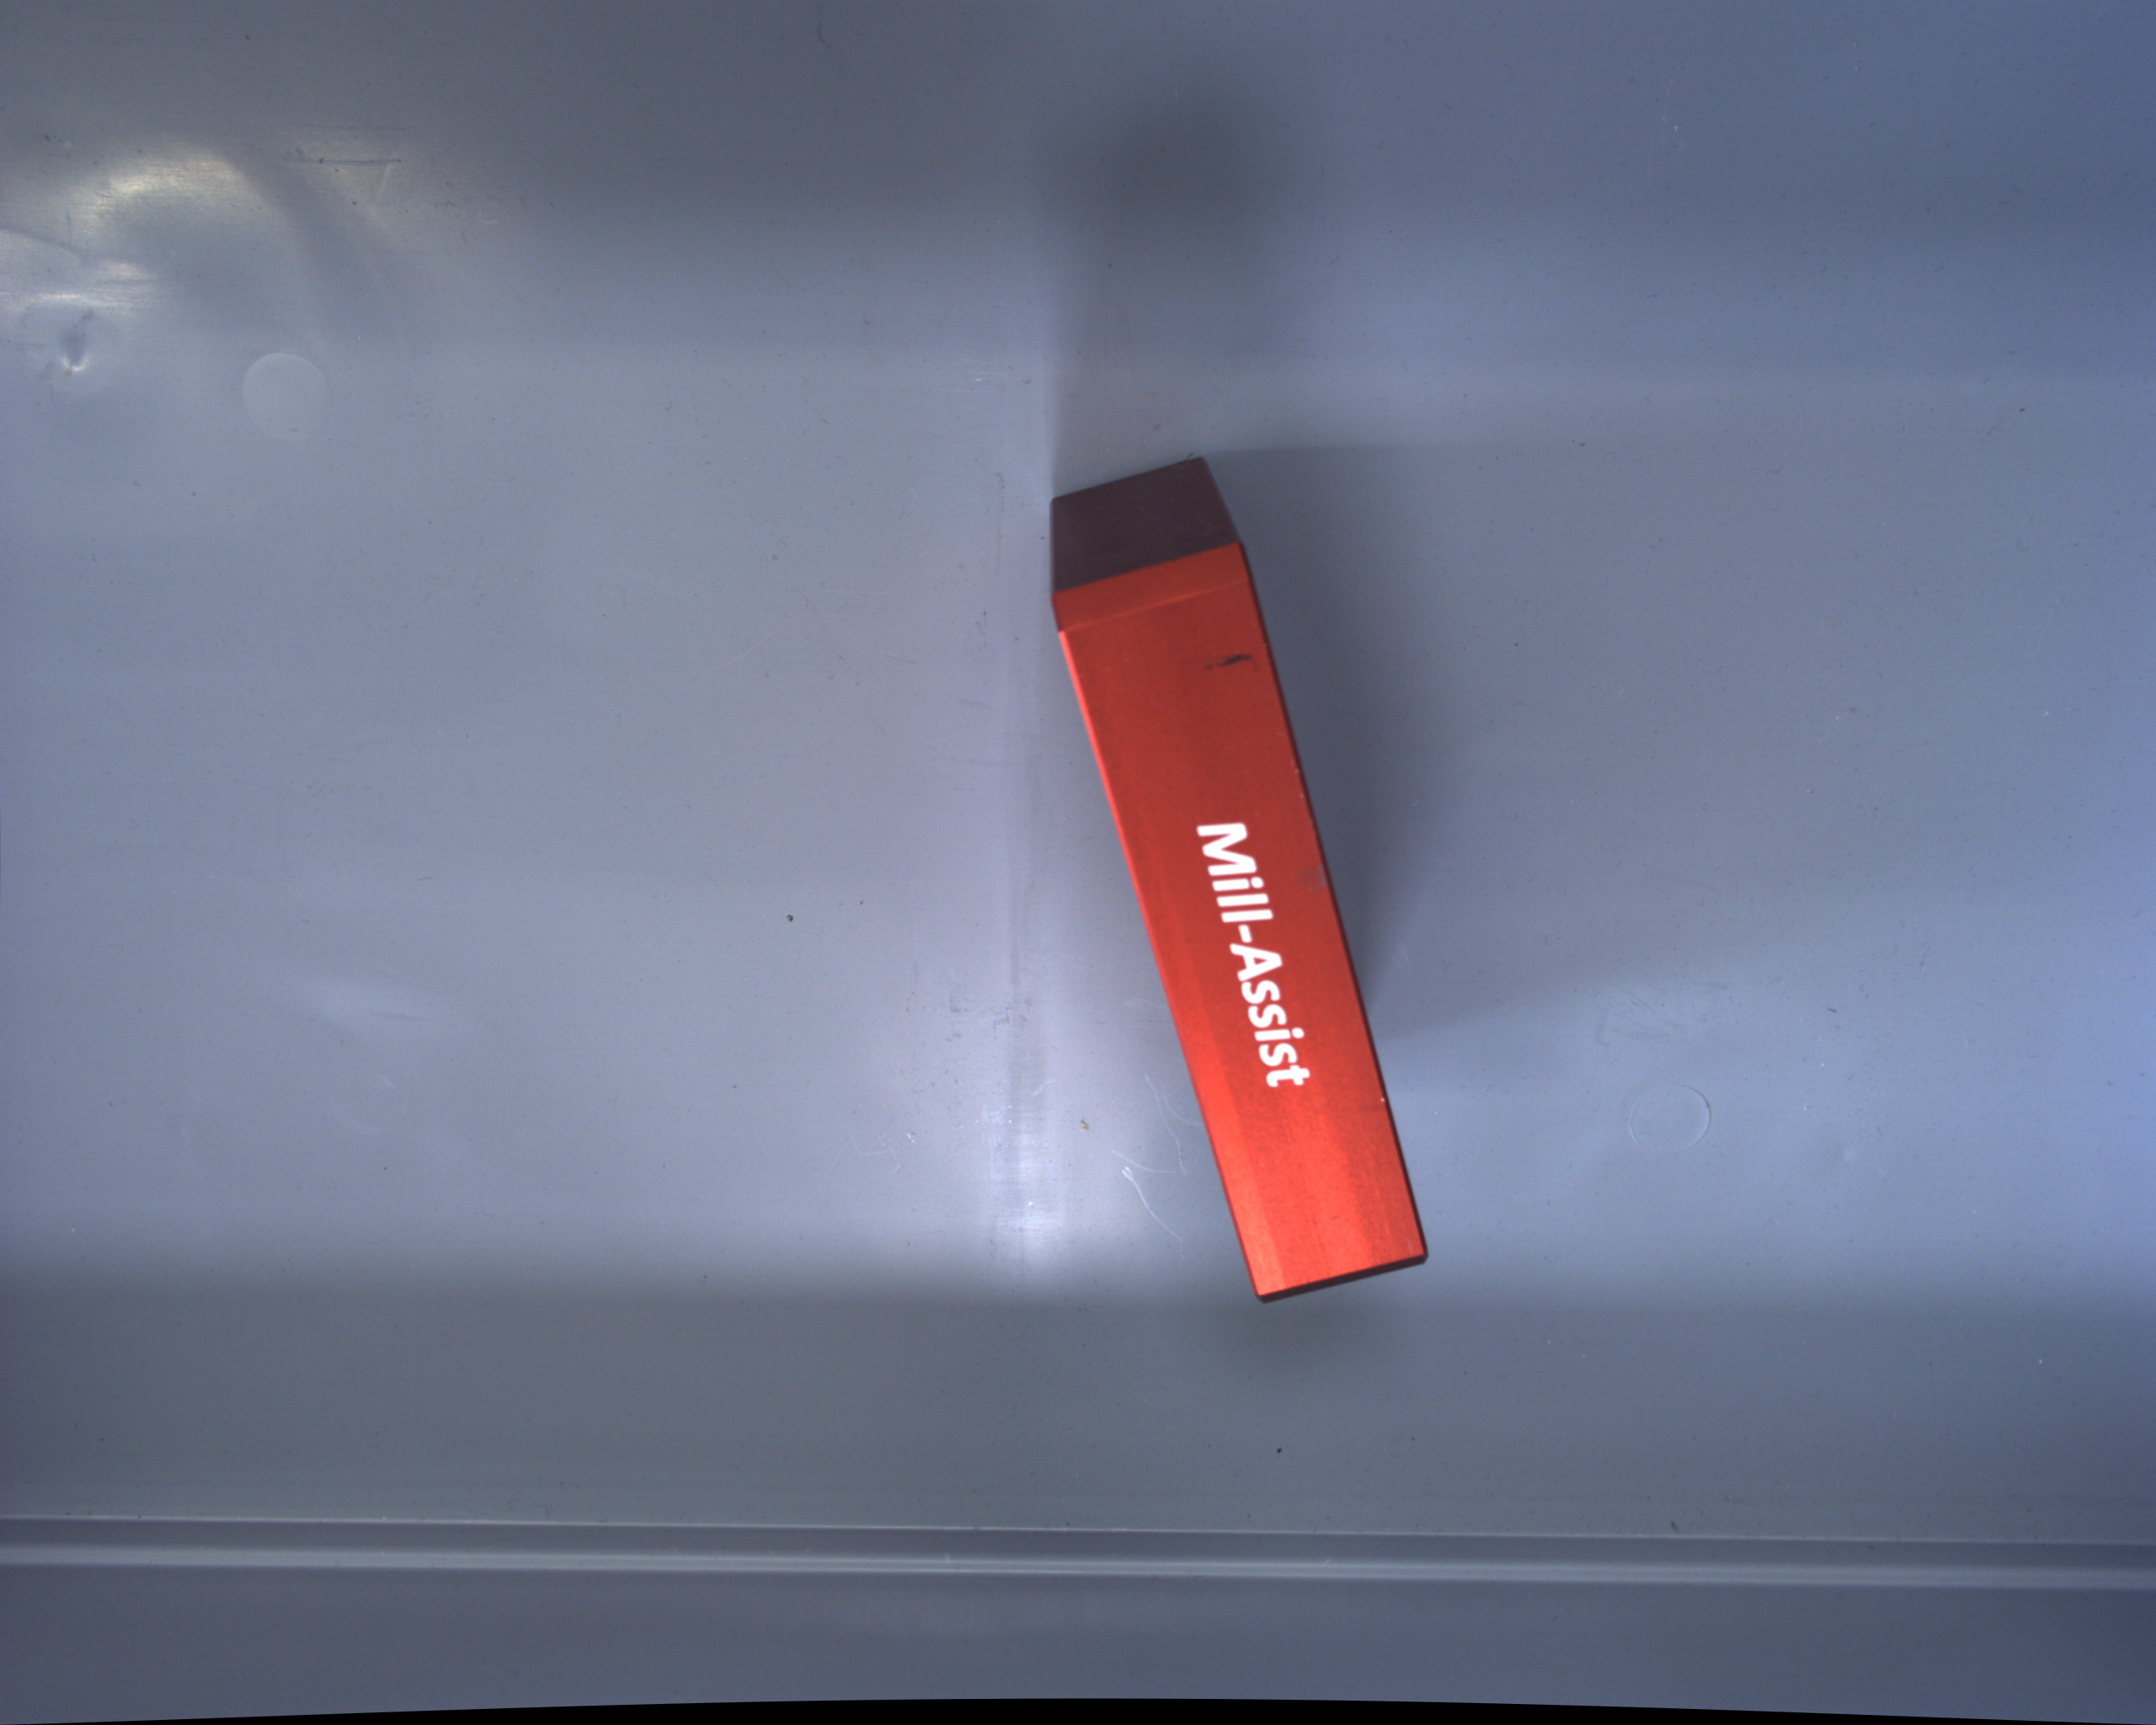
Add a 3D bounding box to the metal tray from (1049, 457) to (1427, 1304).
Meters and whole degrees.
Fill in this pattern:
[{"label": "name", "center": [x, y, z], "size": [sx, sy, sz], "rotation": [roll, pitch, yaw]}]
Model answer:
[{"label": "metal tray", "center": [0.027, 0.000, 0.374], "size": [0.030, 0.090, 0.129], "rotation": [-15, 110, 5]}]
